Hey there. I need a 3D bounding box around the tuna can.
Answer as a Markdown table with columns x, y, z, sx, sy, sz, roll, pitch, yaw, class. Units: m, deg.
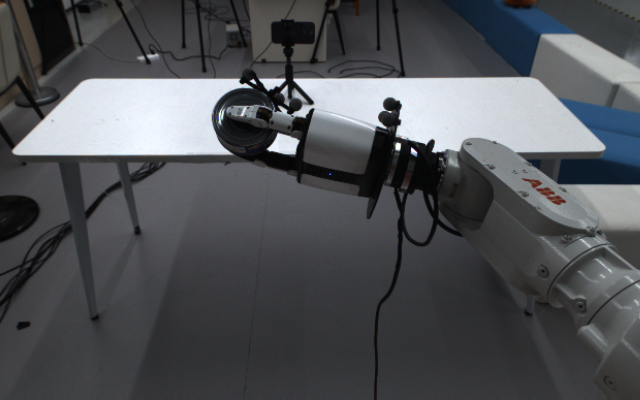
| x | y | z | sx | sy | sz | roll | pitch | yaw | class |
| --- | --- | --- | --- | --- | --- | --- | --- | --- | --- |
| -0.095 | -0.098 | 0.639 | 0.085 | 0.034 | 0.085 | 0 | 74 | -1 | tuna can |
